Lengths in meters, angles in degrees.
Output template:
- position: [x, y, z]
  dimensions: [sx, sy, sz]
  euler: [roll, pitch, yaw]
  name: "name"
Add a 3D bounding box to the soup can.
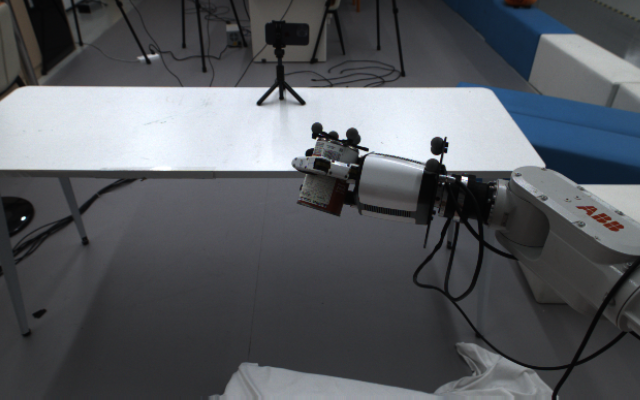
- position: [0.013, -0.033, 0.715]
  dimensions: [0.067, 0.101, 0.067]
  euler: [17, -2, 0]
  name: "soup can"
